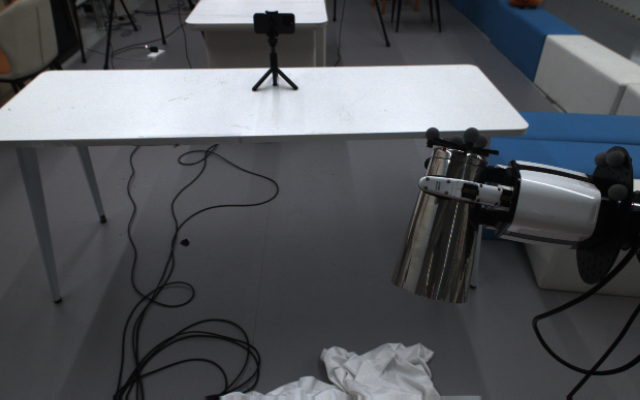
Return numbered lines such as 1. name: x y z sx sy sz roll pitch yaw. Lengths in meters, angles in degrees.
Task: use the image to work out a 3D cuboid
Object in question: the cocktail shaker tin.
1. cocktail shaker tin: 0.153 0.025 0.589 0.093 0.170 0.093 12 3 -1
